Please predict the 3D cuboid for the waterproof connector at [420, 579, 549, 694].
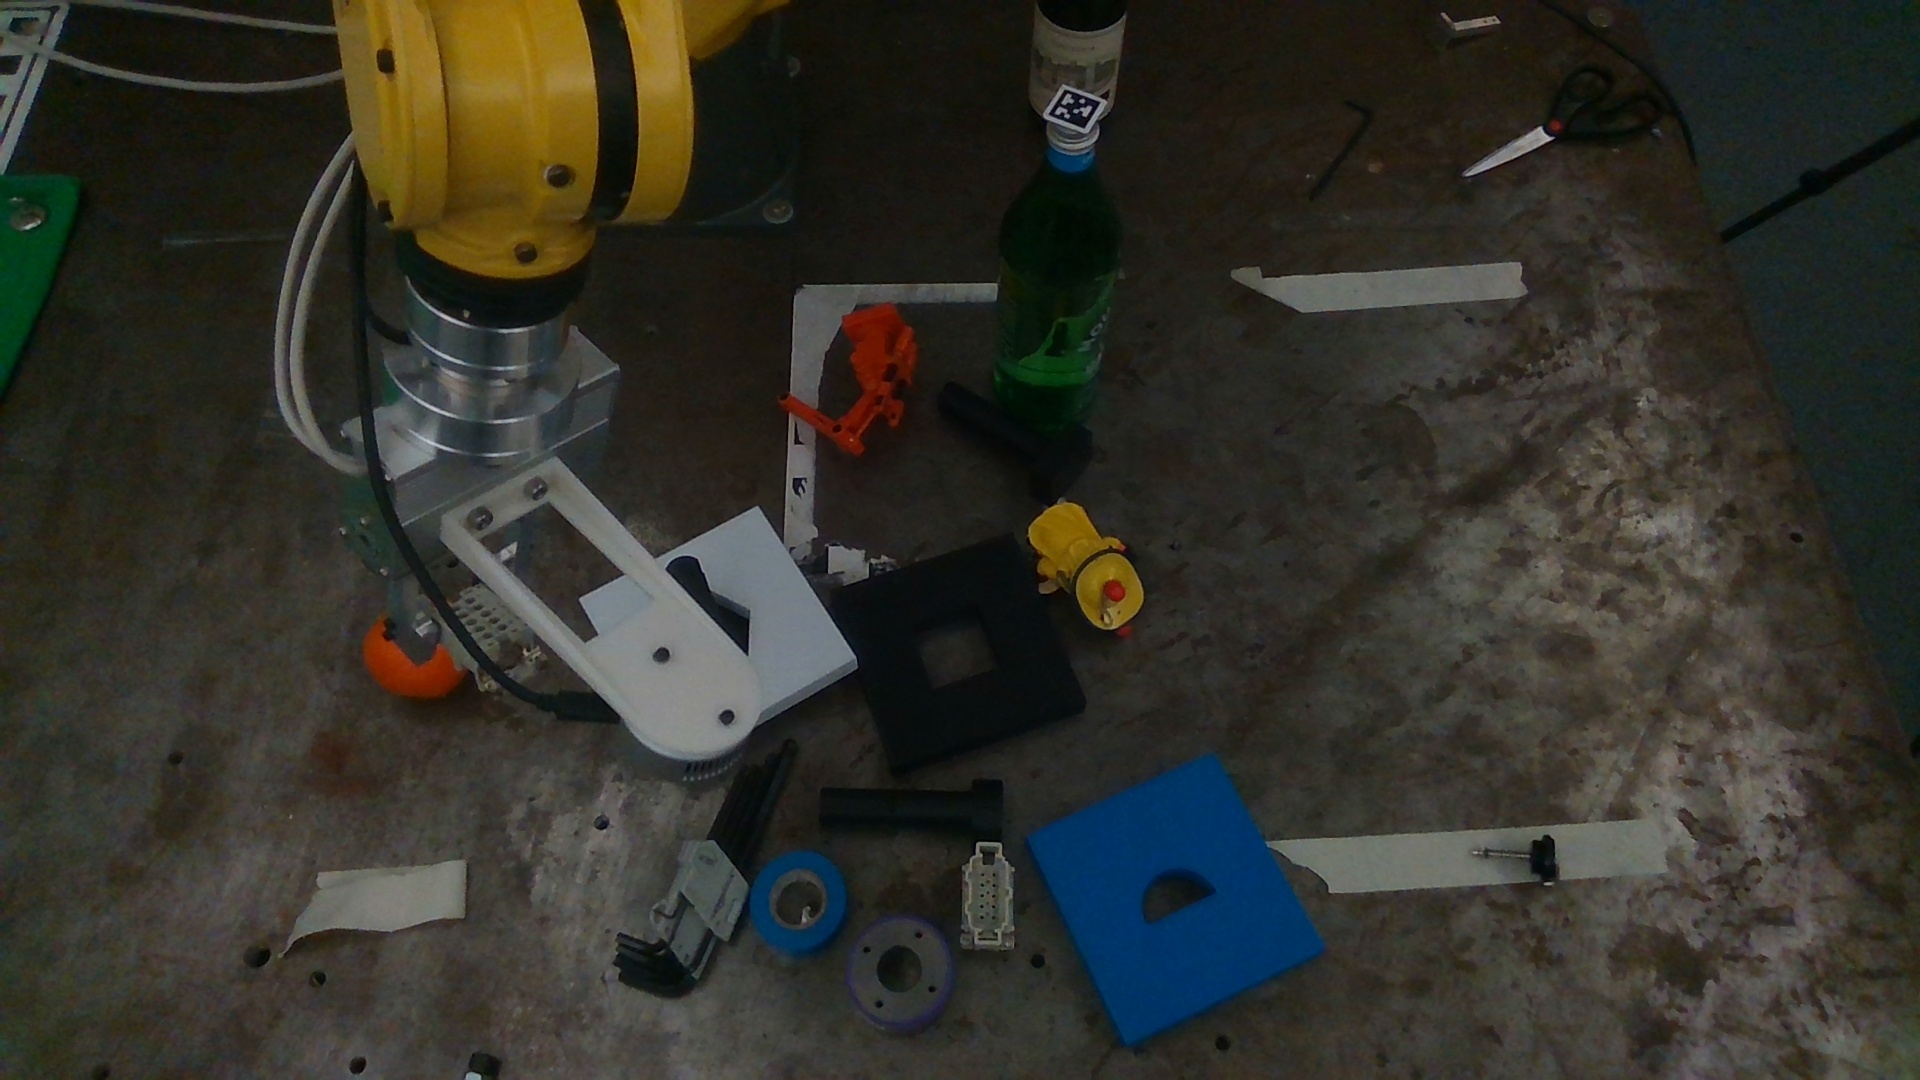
[{"bbox_3d":[-0.250,0.051,0.730,0.069,0.038,0.036,28,44,26],"label":"waterproof connector"}]
